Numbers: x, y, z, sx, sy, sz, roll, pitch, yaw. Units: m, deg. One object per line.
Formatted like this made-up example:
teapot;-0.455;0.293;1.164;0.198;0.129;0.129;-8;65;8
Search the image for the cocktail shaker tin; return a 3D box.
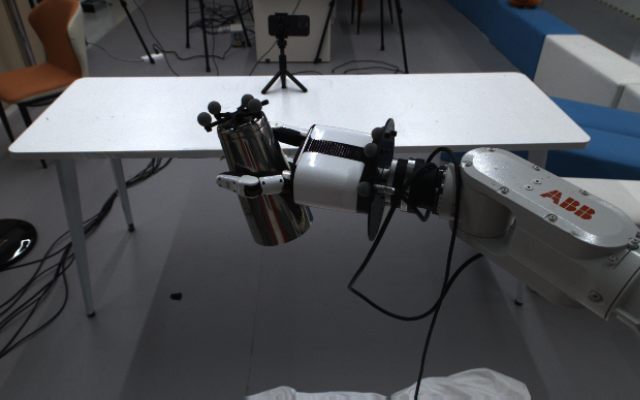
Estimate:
cocktail shaker tin;-0.078;-0.032;0.660;0.093;0.170;0.093;-15;29;8
